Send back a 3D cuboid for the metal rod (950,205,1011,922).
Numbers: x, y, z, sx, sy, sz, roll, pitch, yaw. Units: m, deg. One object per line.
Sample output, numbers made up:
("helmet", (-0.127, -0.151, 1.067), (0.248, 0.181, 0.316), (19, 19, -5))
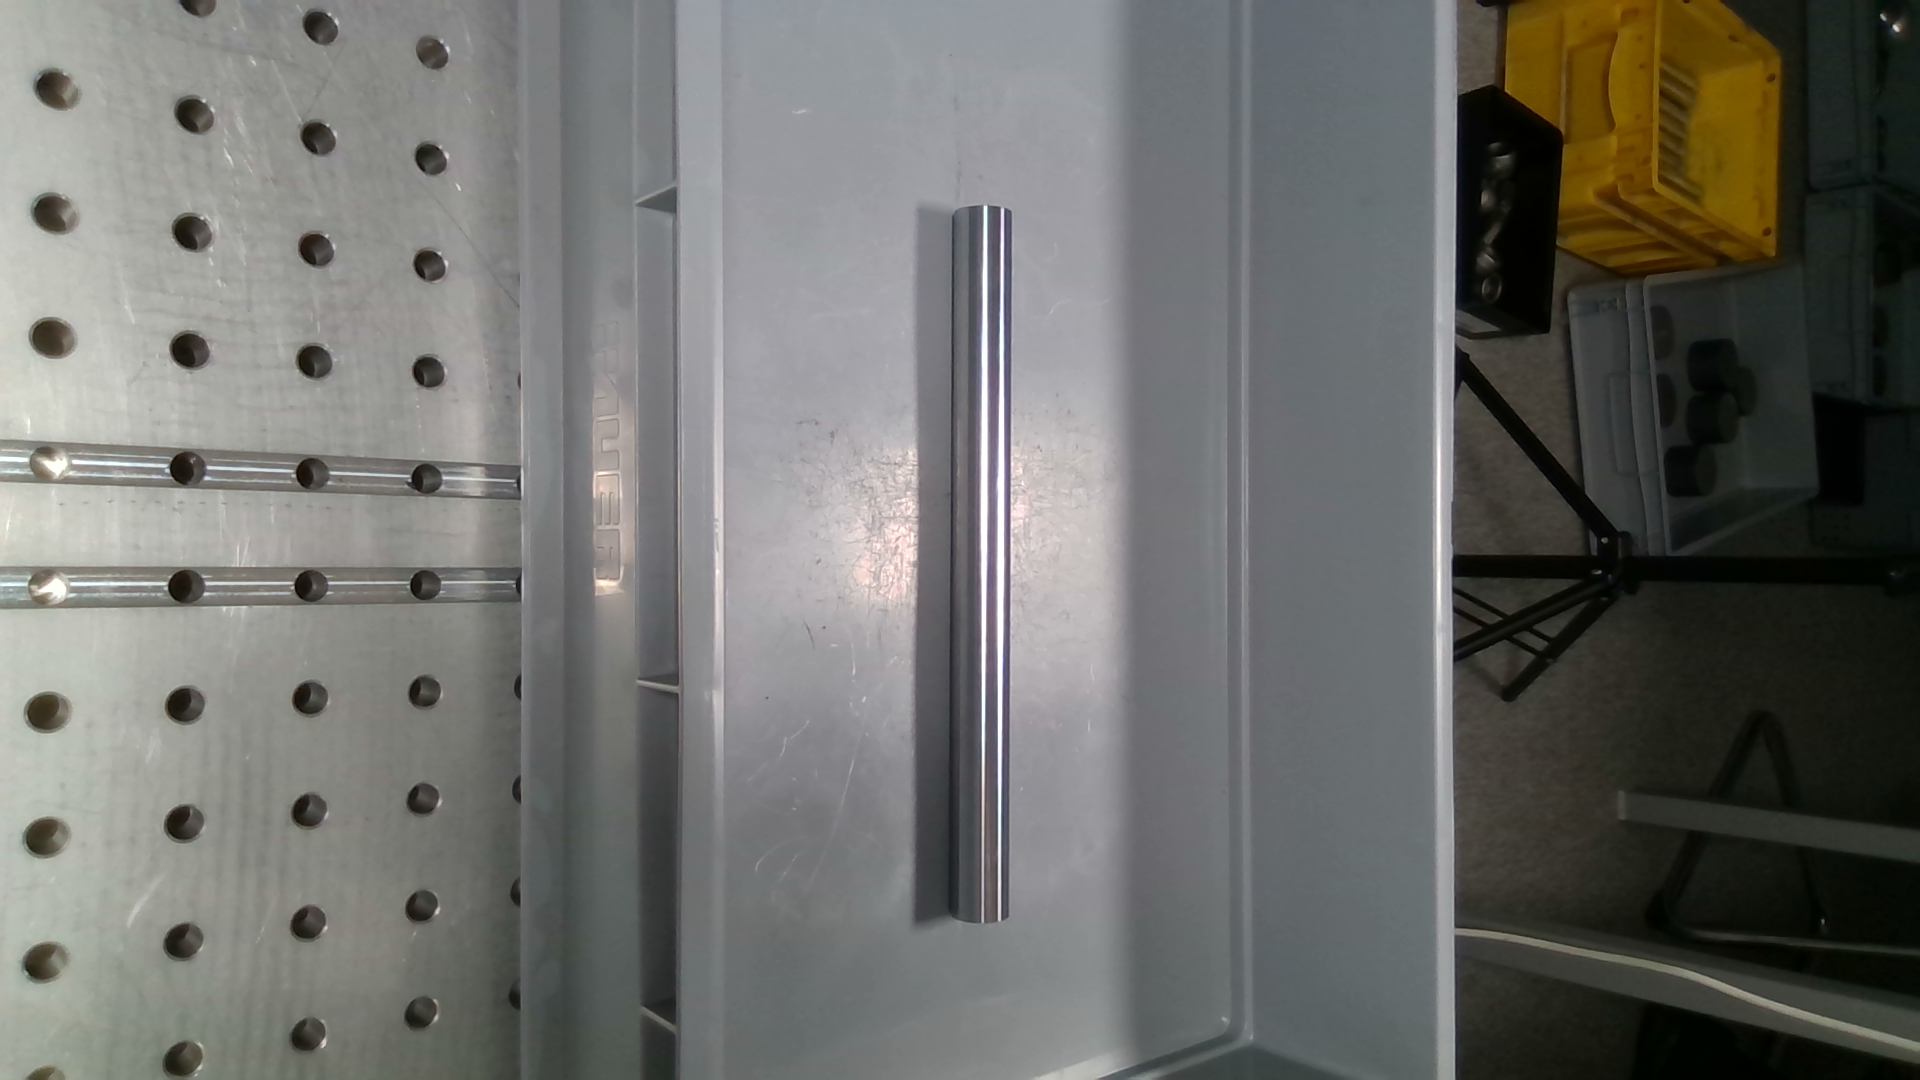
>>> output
("metal rod", (0.009, 0.010, 0.588), (0.025, 0.025, 0.300), (0, 90, -40))
